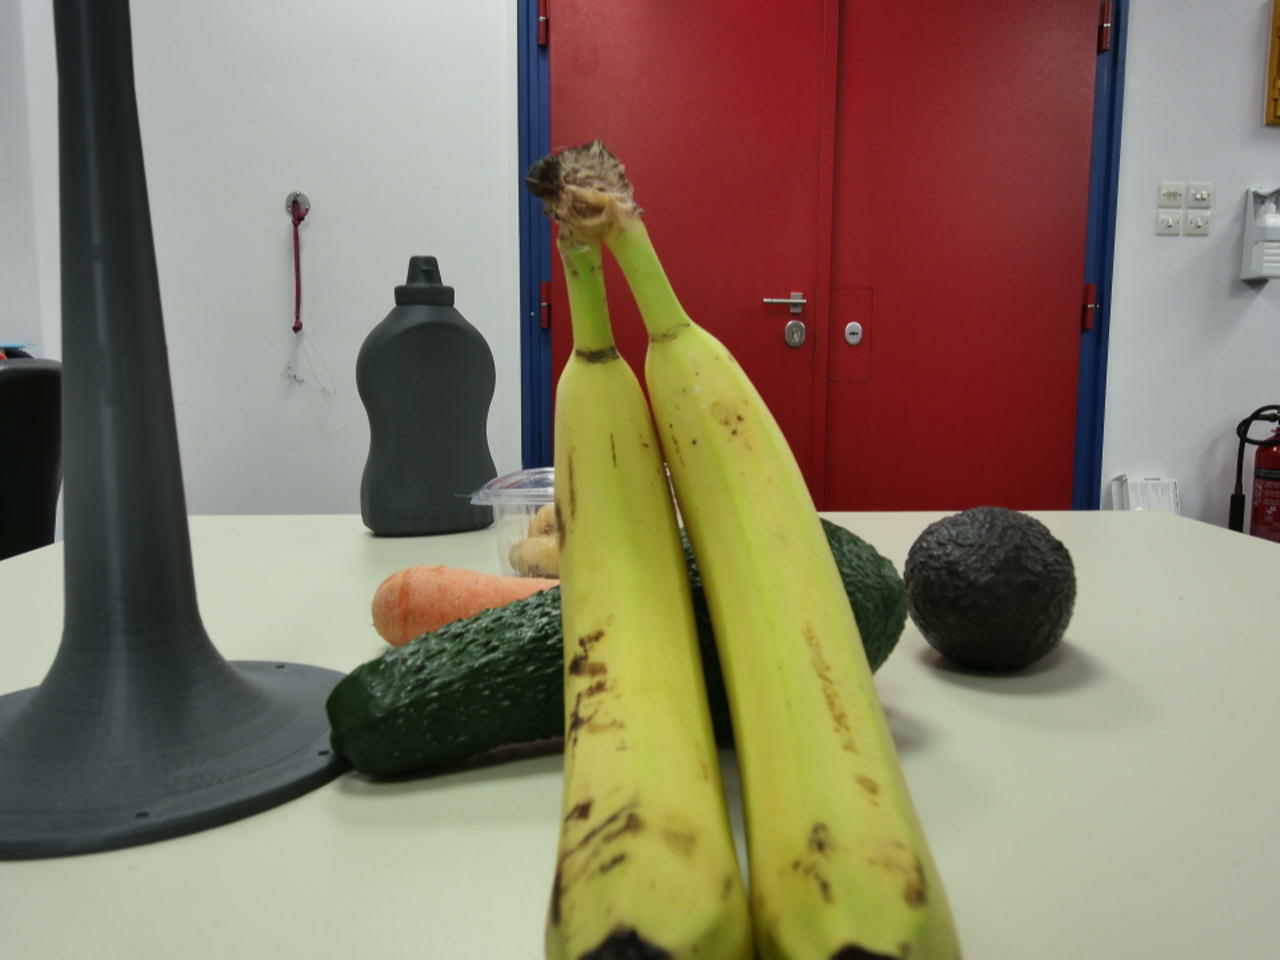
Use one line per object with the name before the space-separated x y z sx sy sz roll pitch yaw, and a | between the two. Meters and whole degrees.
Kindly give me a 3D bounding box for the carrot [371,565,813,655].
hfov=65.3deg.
carrot | -0.021 0.058 0.450 0.196 0.041 0.039 -1 5 -1
